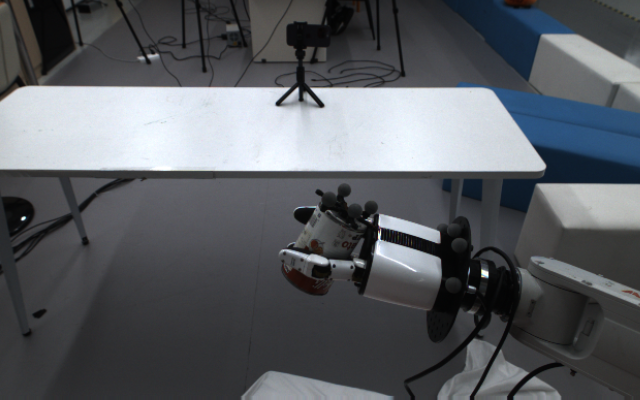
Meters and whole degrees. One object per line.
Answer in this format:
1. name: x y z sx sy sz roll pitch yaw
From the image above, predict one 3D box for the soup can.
1. soup can: 0.006 0.059 0.597 0.067 0.101 0.067 27 18 -9
